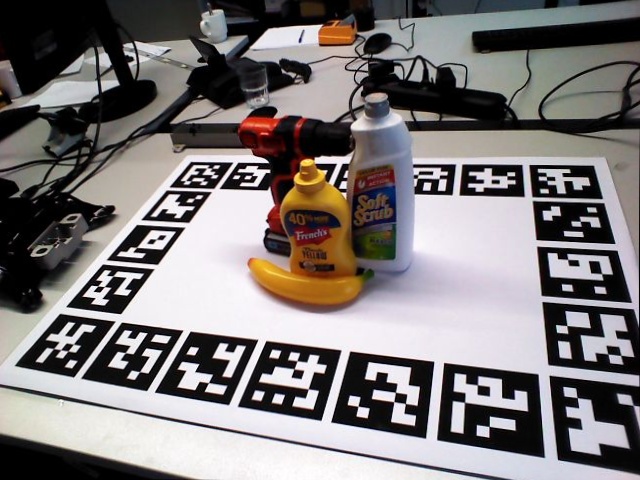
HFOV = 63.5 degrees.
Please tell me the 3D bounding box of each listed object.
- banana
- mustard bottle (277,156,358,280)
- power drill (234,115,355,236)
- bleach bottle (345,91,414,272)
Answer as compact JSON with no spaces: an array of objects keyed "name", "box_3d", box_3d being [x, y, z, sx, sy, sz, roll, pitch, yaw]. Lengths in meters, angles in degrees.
[{"name":"banana","box_3d":[-0.021,0.058,0.726,0.198,0.039,0.073,5,42,23]},{"name":"mustard bottle","box_3d":[-0.006,-0.025,0.688,0.097,0.192,0.058,4,41,18]},{"name":"power drill","box_3d":[-0.028,-0.088,0.739,0.185,0.187,0.057,13,43,26]},{"name":"bleach bottle","box_3d":[0.074,-0.076,0.693,0.103,0.251,0.067,5,35,20]}]
